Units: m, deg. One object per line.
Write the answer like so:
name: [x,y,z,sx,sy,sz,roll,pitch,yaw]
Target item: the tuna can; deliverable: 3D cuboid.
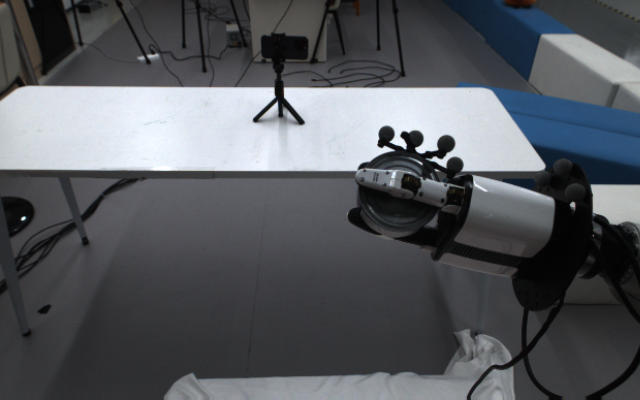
tuna can: [0.083,-0.009,0.504,0.085,0.034,0.085,0,71,0]
